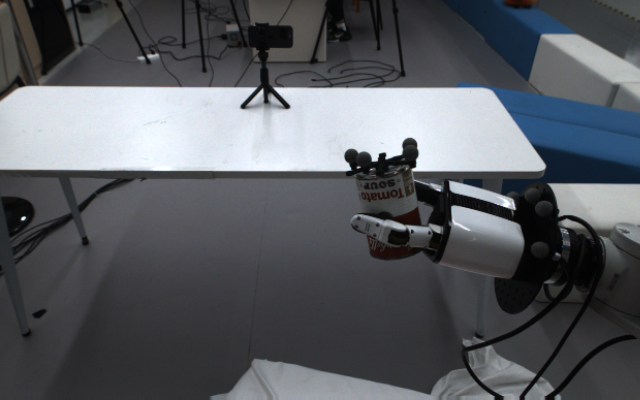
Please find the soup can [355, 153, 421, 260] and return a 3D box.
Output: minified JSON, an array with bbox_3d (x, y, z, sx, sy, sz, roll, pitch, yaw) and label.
[{"bbox_3d":[0.084,0.008,0.568,0.067,0.101,0.067,-12,17,4],"label":"soup can"}]
